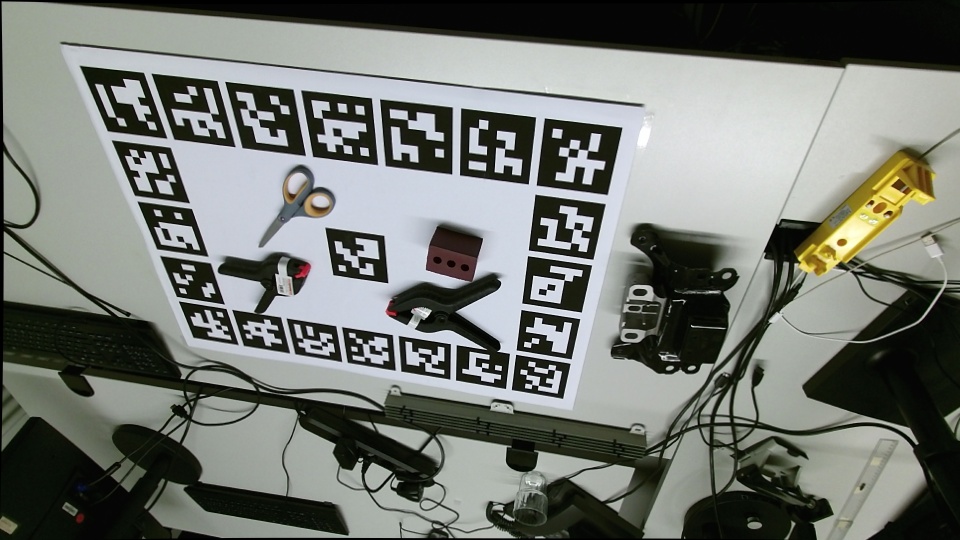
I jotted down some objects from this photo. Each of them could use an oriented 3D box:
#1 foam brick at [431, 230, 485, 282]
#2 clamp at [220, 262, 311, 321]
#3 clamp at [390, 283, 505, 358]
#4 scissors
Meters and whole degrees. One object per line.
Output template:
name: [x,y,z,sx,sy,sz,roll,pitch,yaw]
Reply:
foam brick: [-0.035,-0.022,0.851,0.078,0.051,0.053,12,125,-2]
clamp: [-0.378,0.030,0.970,0.165,0.036,0.122,-17,113,21]
clamp: [-0.057,0.083,0.937,0.203,0.036,0.165,5,129,9]
scissors: [-0.309,-0.081,0.880,0.088,0.016,0.203,44,124,-10]
